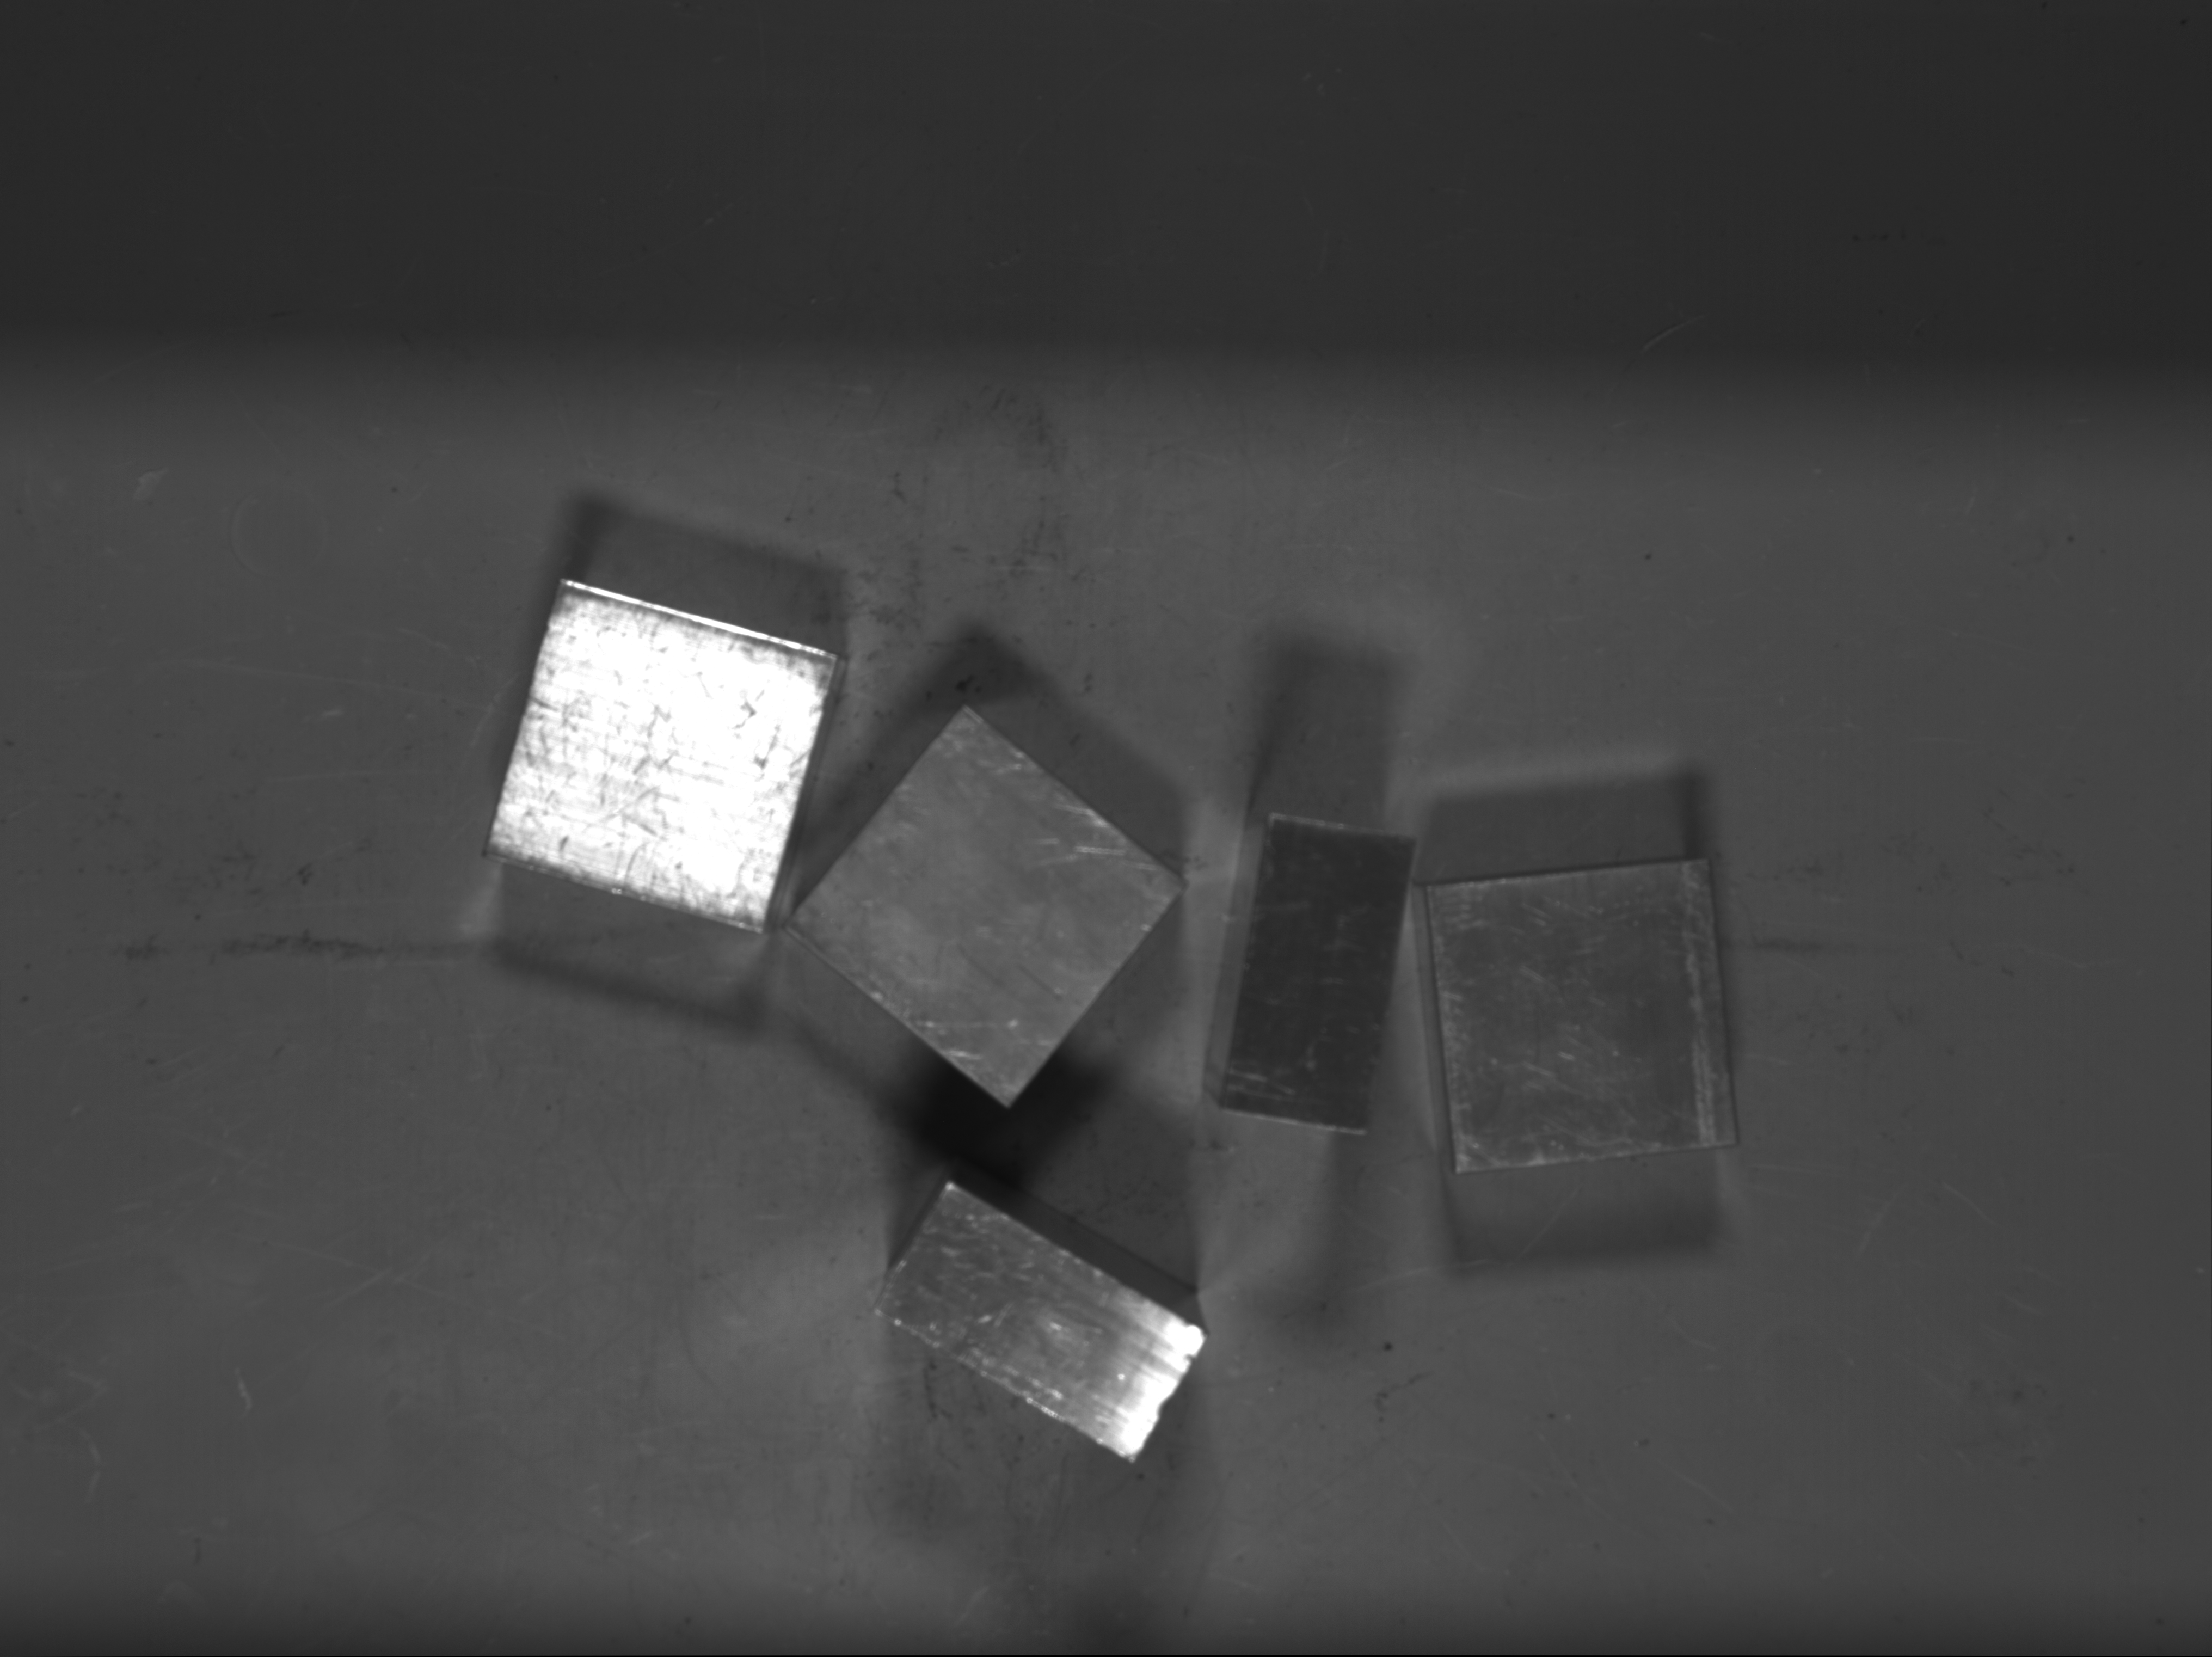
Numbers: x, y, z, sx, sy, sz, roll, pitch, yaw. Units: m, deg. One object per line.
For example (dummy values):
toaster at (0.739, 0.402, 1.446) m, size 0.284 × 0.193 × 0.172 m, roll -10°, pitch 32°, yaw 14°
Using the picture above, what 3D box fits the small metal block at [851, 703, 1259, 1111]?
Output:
small metal block at (-0.009, 0.014, 0.643) m, size 0.050 × 0.025 × 0.050 m, roll 39°, pitch 90°, yaw 0°

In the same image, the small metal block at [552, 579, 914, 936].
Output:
small metal block at (-0.065, -0.012, 0.642) m, size 0.050 × 0.025 × 0.050 m, roll 15°, pitch 90°, yaw 0°

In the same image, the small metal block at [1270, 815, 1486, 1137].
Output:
small metal block at (0.046, 0.025, 0.632) m, size 0.025 × 0.050 × 0.050 m, roll 9°, pitch 90°, yaw -1°

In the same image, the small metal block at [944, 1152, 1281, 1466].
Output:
small metal block at (0.001, 0.082, 0.631) m, size 0.050 × 0.050 × 0.025 m, roll 31°, pitch 91°, yaw -1°

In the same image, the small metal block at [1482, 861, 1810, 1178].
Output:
small metal block at (0.094, 0.033, 0.644) m, size 0.050 × 0.025 × 0.050 m, roll -6°, pitch 90°, yaw 0°
